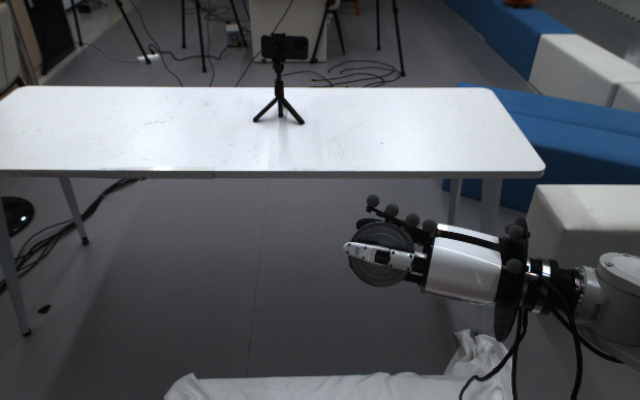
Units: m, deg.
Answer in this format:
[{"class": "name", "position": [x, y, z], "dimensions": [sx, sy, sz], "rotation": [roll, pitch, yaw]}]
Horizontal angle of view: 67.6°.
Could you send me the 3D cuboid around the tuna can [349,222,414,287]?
[{"class": "tuna can", "position": [0.085, 0.068, 0.640], "dimensions": [0.085, 0.085, 0.034], "rotation": [13, 2, 16]}]
